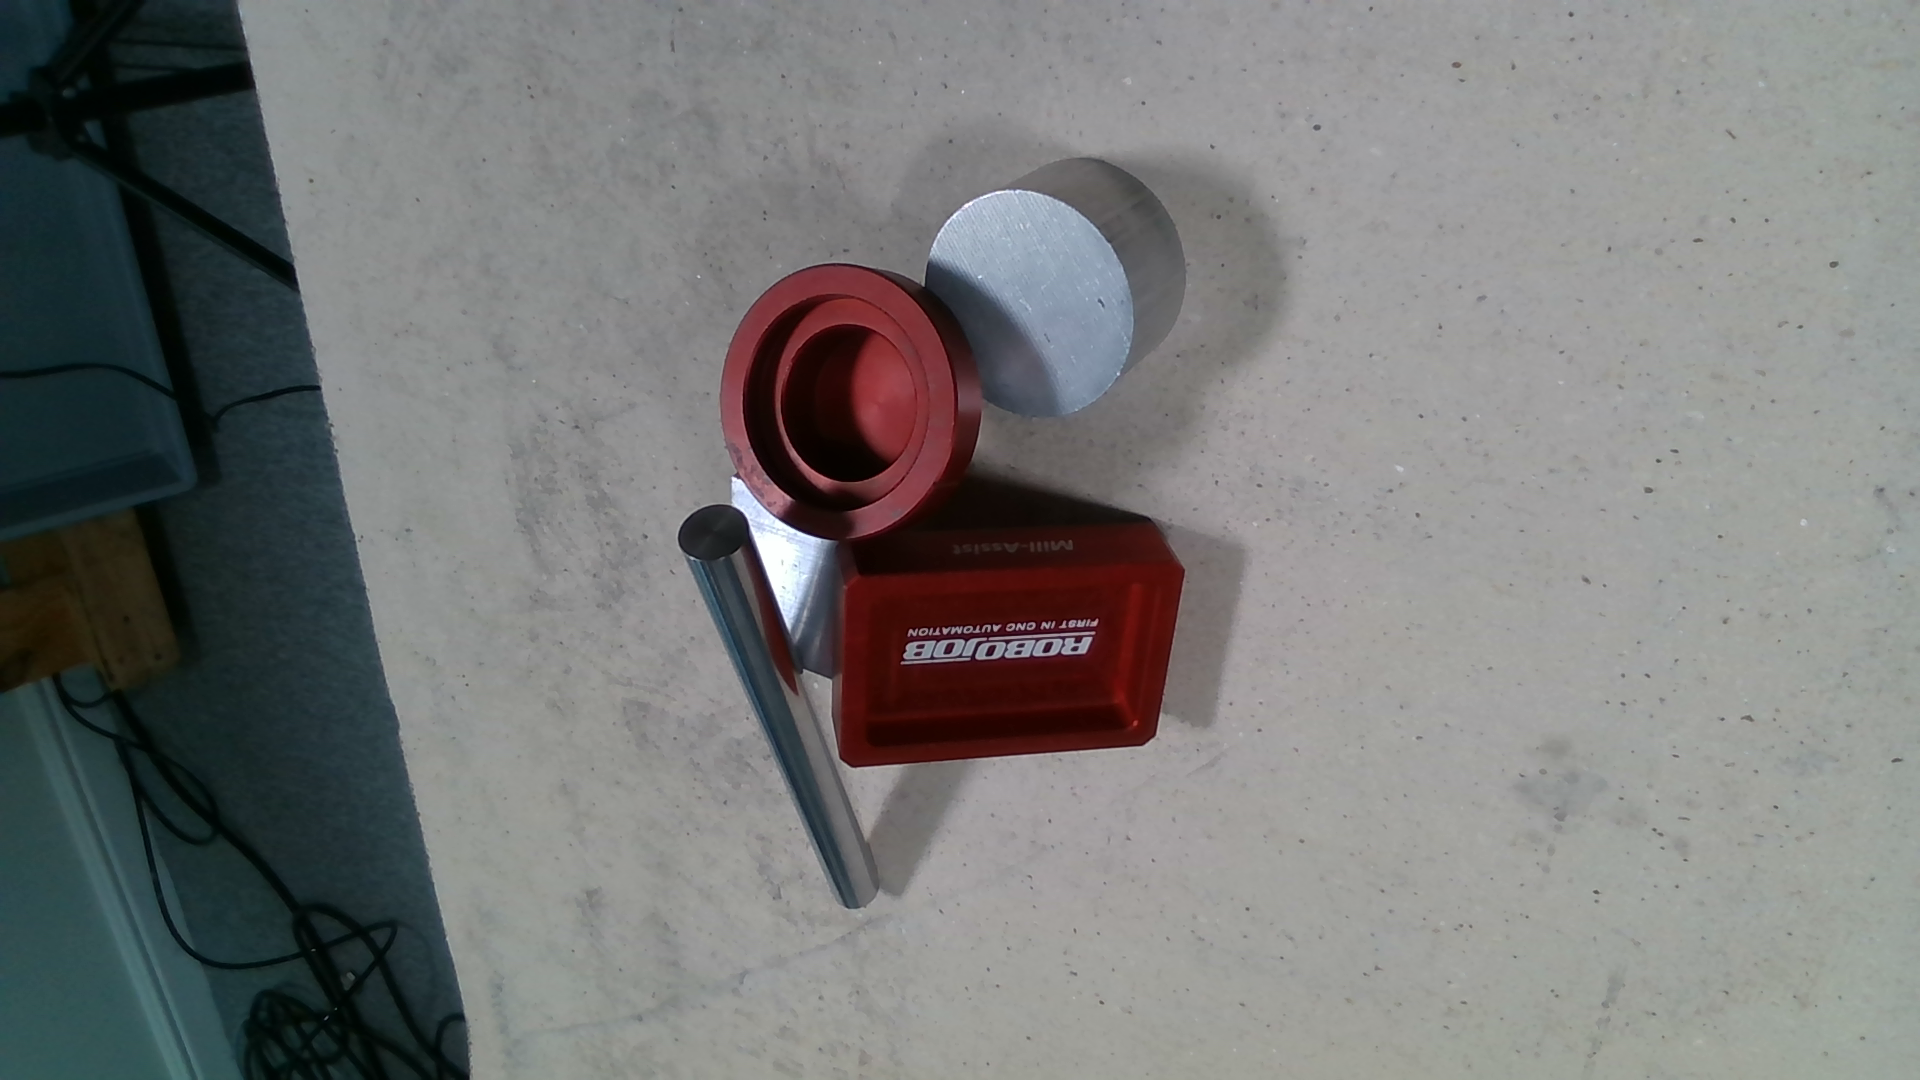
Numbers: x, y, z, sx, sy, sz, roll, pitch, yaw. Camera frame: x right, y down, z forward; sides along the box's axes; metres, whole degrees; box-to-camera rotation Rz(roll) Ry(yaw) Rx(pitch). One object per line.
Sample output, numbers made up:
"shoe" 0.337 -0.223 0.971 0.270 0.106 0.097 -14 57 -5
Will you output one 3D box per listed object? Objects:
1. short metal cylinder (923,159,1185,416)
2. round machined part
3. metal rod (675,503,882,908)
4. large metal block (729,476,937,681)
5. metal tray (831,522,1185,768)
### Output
"short metal cylinder" 0.034 -0.091 0.493 0.080 0.050 0.080 14 122 25
"round machined part" -0.036 -0.051 0.506 0.098 0.042 0.098 3 97 25
"metal rod" -0.070 0.088 0.595 0.025 0.025 0.301 20 148 22
"large metal block" -0.051 0.000 0.576 0.050 0.080 0.080 18 123 22
"metal tray" 0.016 0.041 0.540 0.130 0.030 0.090 -2 121 -12
